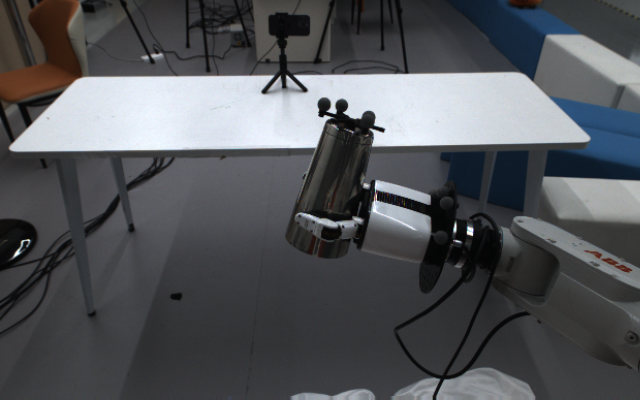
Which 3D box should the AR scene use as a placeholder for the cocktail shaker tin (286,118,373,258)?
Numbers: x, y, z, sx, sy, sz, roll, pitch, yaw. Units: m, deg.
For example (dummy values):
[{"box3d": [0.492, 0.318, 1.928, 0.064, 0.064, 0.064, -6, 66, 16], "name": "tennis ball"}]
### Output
[{"box3d": [0.017, -0.018, 0.655, 0.093, 0.170, 0.093, 14, 20, -5], "name": "cocktail shaker tin"}]
